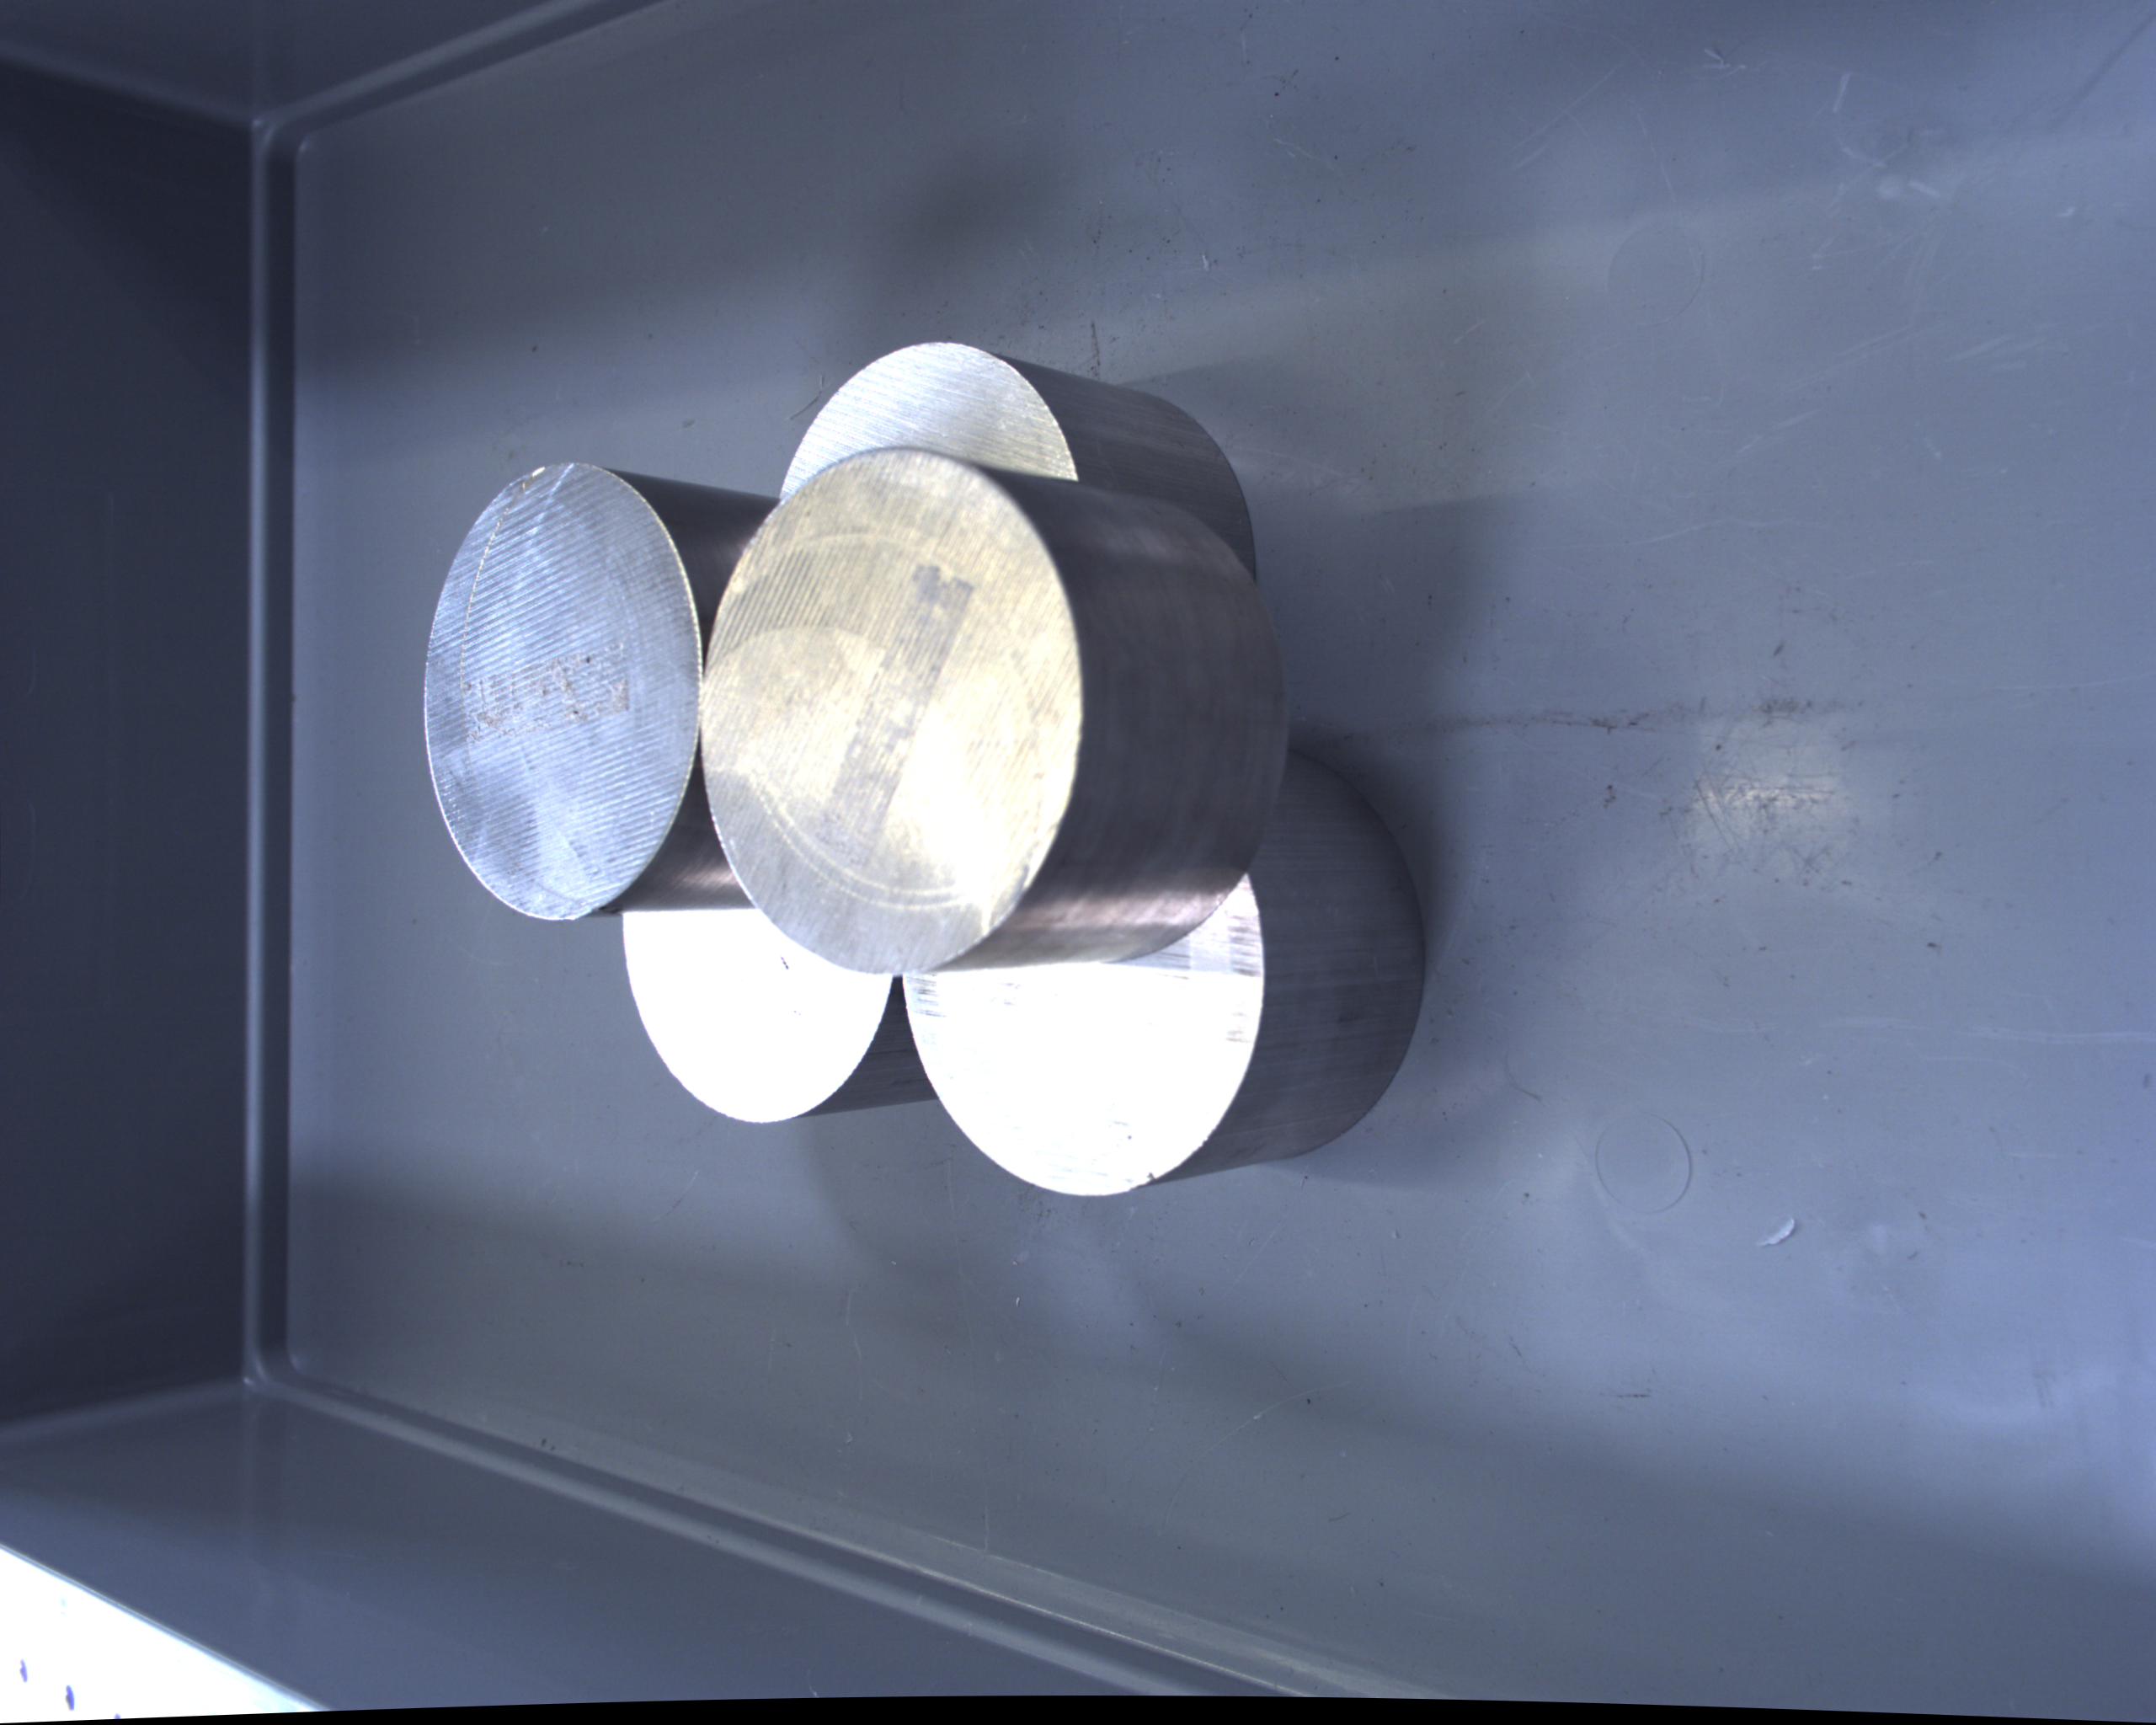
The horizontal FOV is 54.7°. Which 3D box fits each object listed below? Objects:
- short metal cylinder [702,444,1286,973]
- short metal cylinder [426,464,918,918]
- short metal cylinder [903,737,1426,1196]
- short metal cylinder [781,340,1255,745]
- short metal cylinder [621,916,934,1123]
[{"bbox_3d":[-0.014,-0.023,0.334,0.080,0.050,0.080,0,90,40],"label":"short metal cylinder"},{"bbox_3d":[-0.076,-0.030,0.386,0.080,0.050,0.080,0,90,40],"label":"short metal cylinder"},{"bbox_3d":[0.015,0.017,0.376,0.080,0.050,0.080,0,90,40],"label":"short metal cylinder"},{"bbox_3d":[-0.013,-0.055,0.400,0.080,0.050,0.080,0,90,40],"label":"short metal cylinder"},{"bbox_3d":[-0.048,0.011,0.428,0.080,0.050,0.080,0,90,40],"label":"short metal cylinder"}]
